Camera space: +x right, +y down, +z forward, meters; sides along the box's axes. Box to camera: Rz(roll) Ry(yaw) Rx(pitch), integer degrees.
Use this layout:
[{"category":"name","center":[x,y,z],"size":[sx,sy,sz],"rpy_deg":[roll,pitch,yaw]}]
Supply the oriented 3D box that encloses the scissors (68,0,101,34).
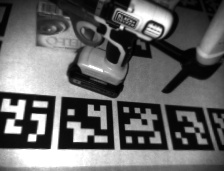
[{"category":"scissors","center":[-0.087,-0.170,0.402],"size":[0.203,0.016,0.088],"rpy_deg":[31,61,-7]}]

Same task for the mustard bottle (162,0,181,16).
[{"category":"mustard bottle","center":[0.148,-0.249,0.547],"size":[0.096,0.191,0.058],"rpy_deg":[19,58,-8]}]

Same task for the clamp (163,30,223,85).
[{"category":"clamp","center":[0.206,-0.077,0.543],"size":[0.205,0.036,0.164],"rpy_deg":[1,65,-20]}]

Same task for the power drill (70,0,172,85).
[{"category":"power drill","center":[-0.017,-0.088,0.368],"size":[0.185,0.187,0.057],"rpy_deg":[16,52,-6]}]

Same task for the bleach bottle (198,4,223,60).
[{"category":"bleach bottle","center":[0.267,-0.135,0.471],"size":[0.103,0.251,0.067],"rpy_deg":[-14,63,-16]}]

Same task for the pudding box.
[{"category":"pudding box","center":[-0.095,-0.133,0.456],"size":[0.114,0.090,0.038],"rpy_deg":[10,53,-14]}]
